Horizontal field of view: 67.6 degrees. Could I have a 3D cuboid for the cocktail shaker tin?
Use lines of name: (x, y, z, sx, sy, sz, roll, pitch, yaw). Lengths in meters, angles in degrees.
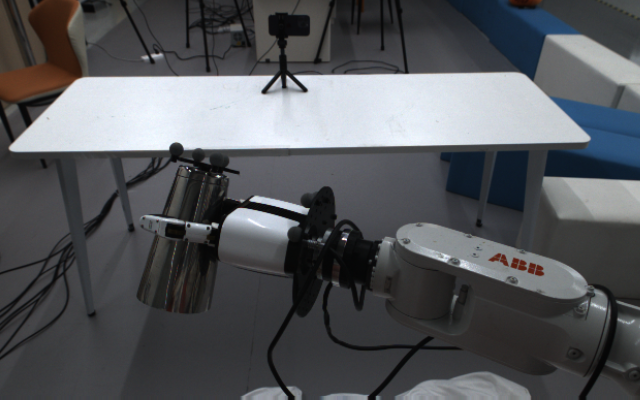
cocktail shaker tin: (-0.166, 0.047, 0.613, 0.093, 0.170, 0.093, 13, 2, 0)
